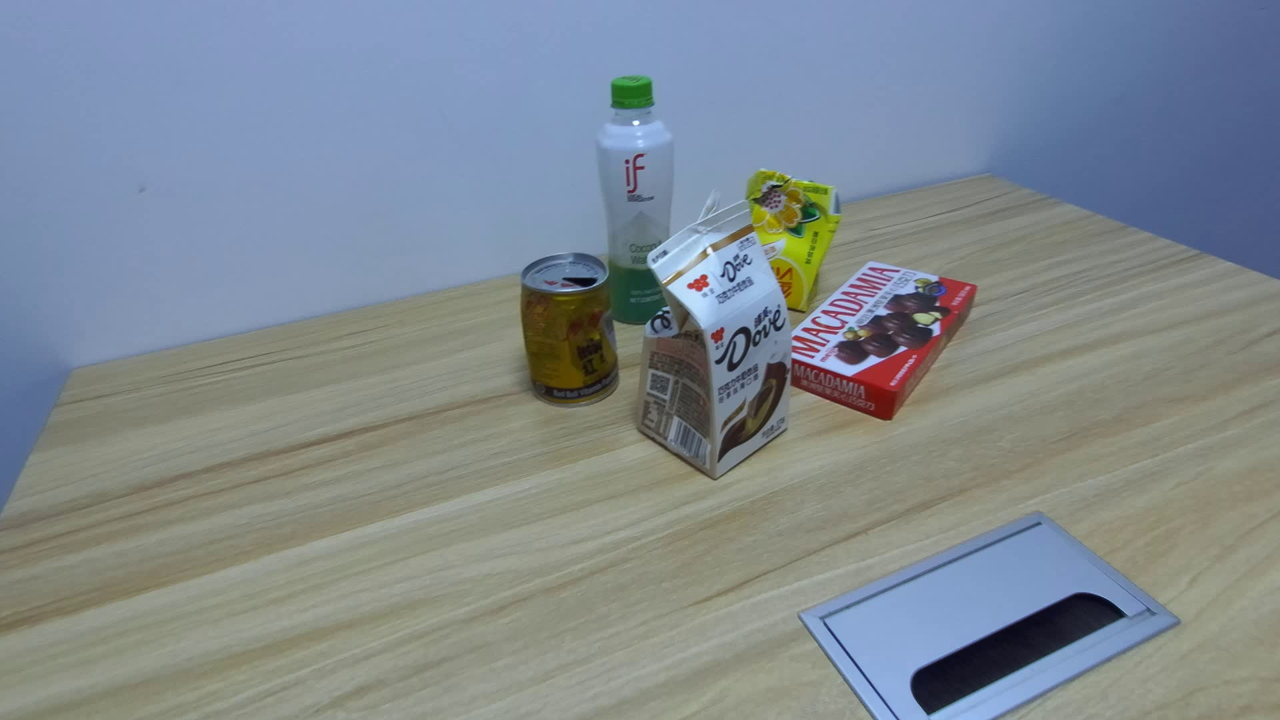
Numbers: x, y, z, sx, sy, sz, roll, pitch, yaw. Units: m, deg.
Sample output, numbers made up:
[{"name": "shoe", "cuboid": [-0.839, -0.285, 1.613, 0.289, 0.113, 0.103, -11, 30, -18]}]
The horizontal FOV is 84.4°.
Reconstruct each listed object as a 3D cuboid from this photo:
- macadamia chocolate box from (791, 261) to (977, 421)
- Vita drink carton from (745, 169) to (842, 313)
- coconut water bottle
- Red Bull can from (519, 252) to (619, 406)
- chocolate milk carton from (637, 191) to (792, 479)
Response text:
[{"name": "macadamia chocolate box", "cuboid": [0.184, -0.023, 0.546, 0.095, 0.027, 0.178, 21, 41, 32]}, {"name": "Vita drink carton", "cuboid": [0.124, -0.103, 0.602, 0.086, 0.108, 0.042, 17, 23, 22]}, {"name": "coconut water bottle", "cuboid": [-0.002, -0.125, 0.566, 0.063, 0.189, 0.063, -2, 32, 1]}, {"name": "Red Bull can", "cuboid": [-0.050, -0.022, 0.502, 0.072, 0.092, 0.072, -1, 32, 1]}, {"name": "chocolate milk carton", "cuboid": [0.044, -0.018, 0.430, 0.076, 0.156, 0.073, -28, 39, -34]}]
